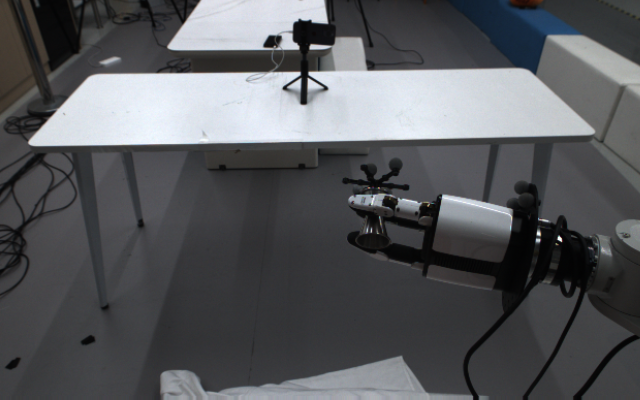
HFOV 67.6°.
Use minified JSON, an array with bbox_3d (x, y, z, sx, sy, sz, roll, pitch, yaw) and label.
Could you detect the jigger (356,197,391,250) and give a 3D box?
[{"bbox_3d":[0.067,0.021,0.620,0.043,0.043,0.071,5,60,4],"label":"jigger"}]
